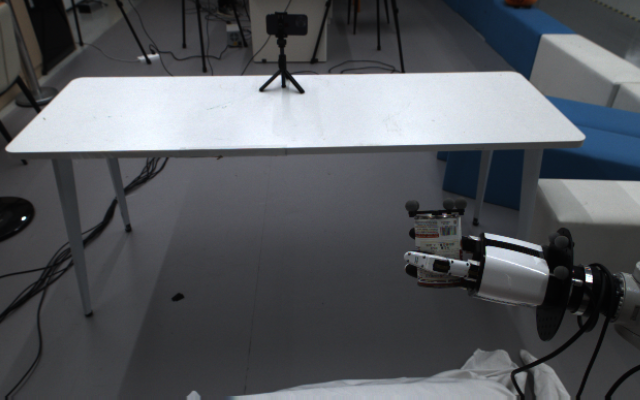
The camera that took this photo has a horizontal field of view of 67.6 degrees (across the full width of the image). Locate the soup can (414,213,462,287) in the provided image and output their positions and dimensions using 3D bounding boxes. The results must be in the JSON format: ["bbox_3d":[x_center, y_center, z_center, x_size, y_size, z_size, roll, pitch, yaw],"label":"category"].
[{"bbox_3d":[0.174,0.072,0.704,0.067,0.101,0.067,-3,-1,0],"label":"soup can"}]
